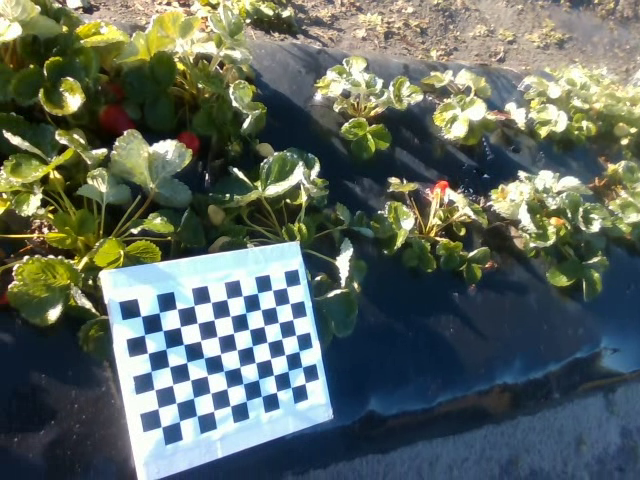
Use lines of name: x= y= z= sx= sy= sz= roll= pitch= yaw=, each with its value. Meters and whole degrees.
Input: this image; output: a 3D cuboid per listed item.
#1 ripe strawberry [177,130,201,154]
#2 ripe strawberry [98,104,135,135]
ripe strawberry: x=-0.190 y=-0.136 z=0.895 sx=0.039 sy=0.047 sz=0.040 roll=33 pitch=-41 yaw=-22
ripe strawberry: x=-0.275 y=-0.163 z=0.863 sx=0.056 sy=0.044 sz=0.040 roll=43 pitch=-33 yaw=-16
